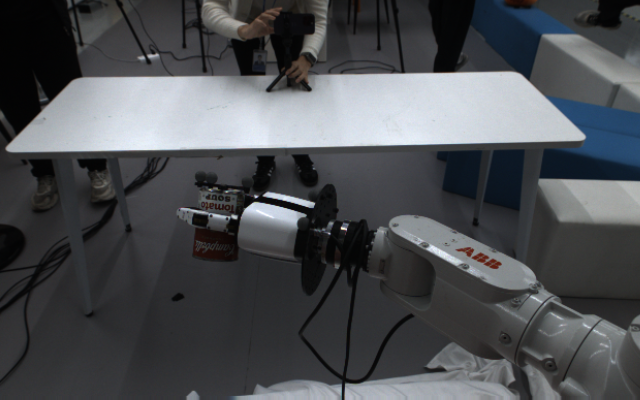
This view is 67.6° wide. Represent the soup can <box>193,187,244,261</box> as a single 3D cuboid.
[{"bbox_3d":[-0.148,0.036,0.710,0.067,0.101,0.067,7,3,0],"label":"soup can"}]
